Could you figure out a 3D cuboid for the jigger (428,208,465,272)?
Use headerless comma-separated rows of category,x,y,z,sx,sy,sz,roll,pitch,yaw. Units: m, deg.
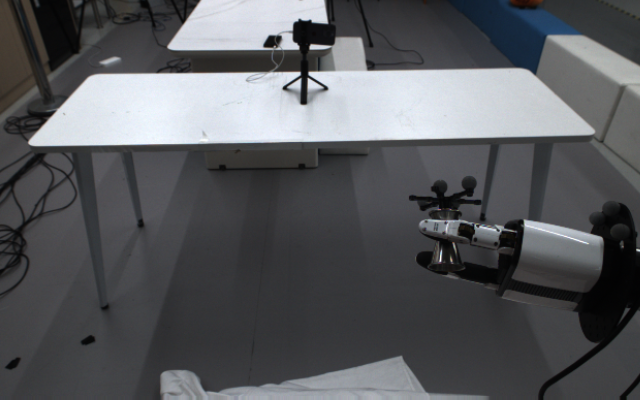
jigger,0.151,0.047,0.588,0.043,0.043,0.071,3,71,2
